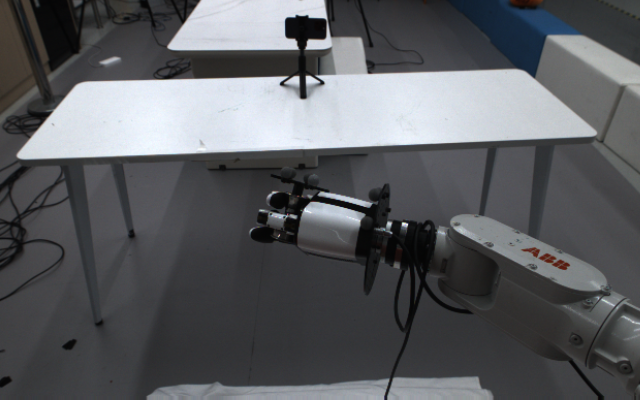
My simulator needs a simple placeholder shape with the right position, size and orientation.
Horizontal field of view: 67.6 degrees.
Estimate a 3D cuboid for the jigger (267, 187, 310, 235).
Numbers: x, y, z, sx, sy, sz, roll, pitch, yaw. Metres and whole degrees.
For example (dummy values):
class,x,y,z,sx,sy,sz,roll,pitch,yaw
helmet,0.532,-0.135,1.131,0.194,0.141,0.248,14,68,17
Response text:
class,x,y,z,sx,sy,sz,roll,pitch,yaw
jigger,-0.042,0.025,0.707,0.043,0.071,0.043,17,2,-1
